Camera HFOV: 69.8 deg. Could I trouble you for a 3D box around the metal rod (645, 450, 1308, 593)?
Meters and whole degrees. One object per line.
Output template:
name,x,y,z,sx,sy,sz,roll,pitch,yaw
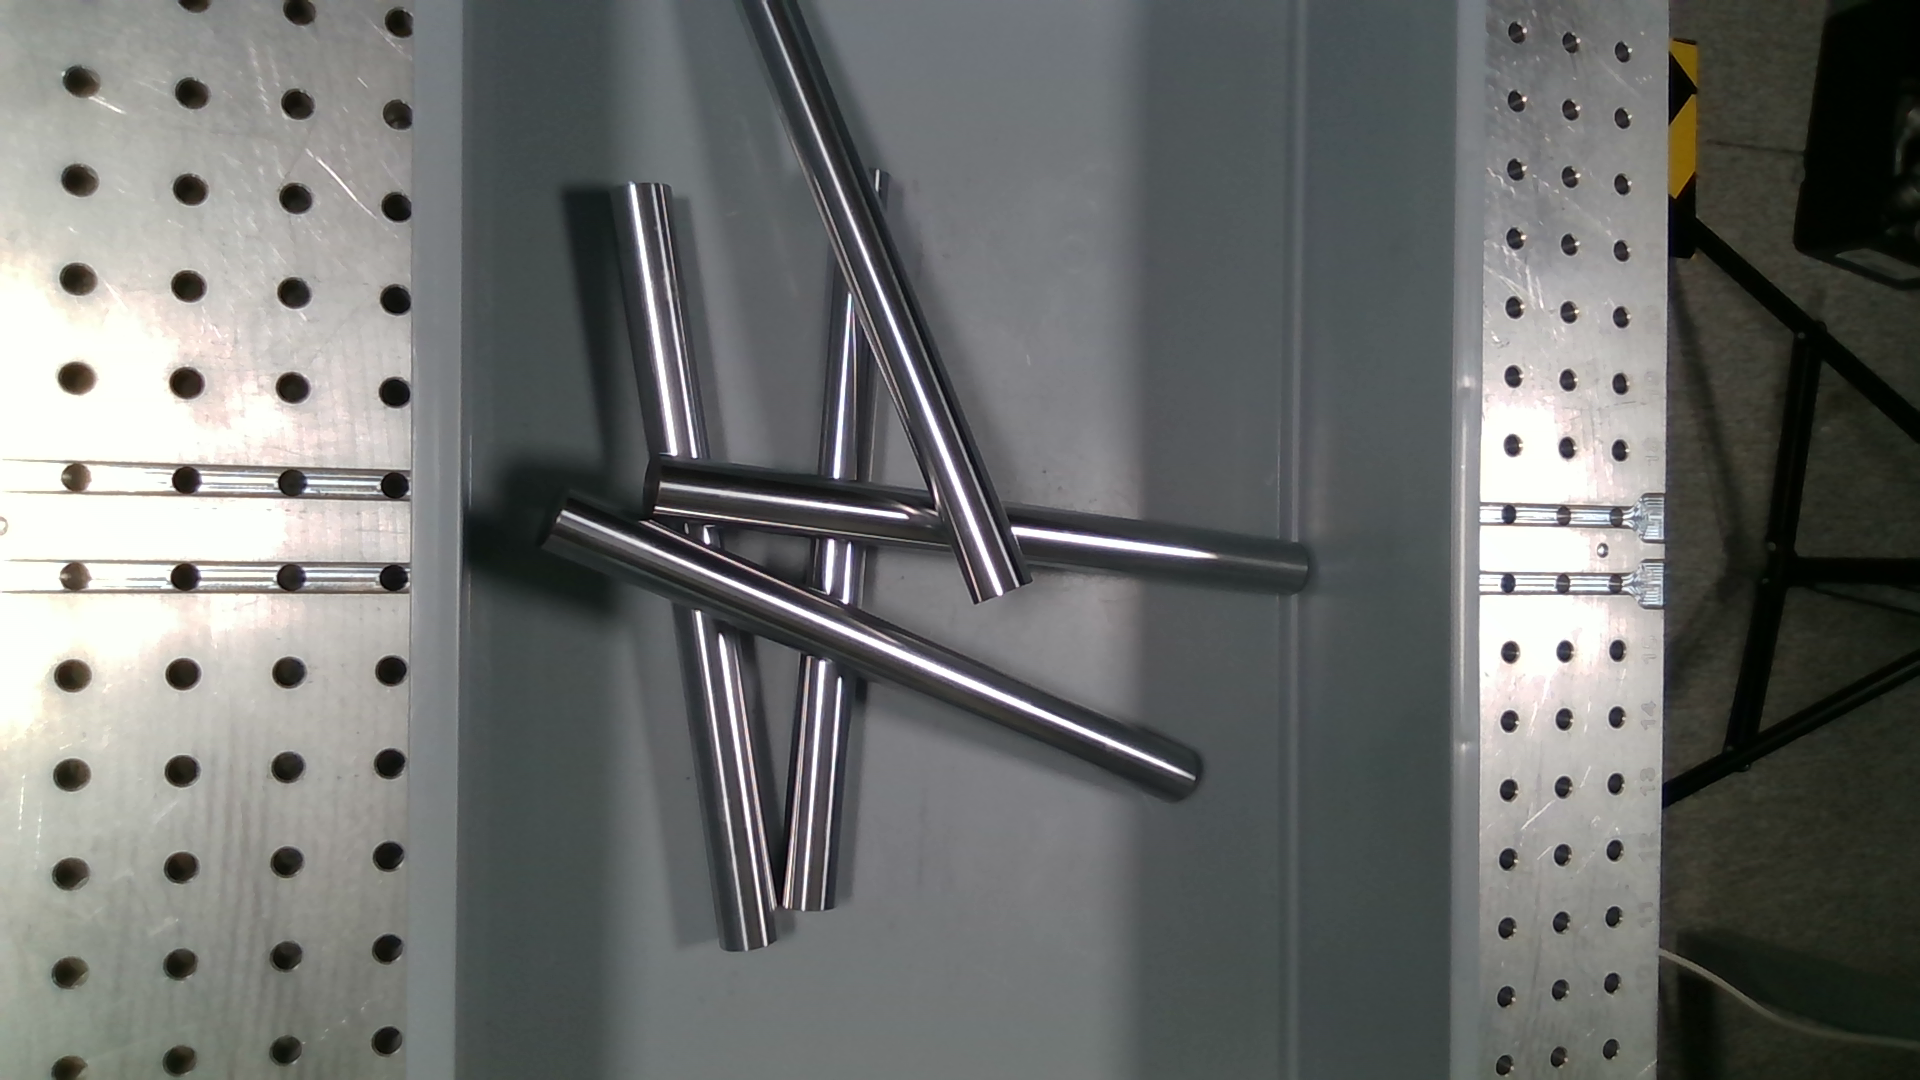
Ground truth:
metal rod,0.020,-0.005,0.574,0.300,0.025,0.025,7,88,-26

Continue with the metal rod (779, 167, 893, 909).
metal rod,-0.051,-0.002,0.566,0.025,0.025,0.300,5,89,-20

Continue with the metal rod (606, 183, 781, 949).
metal rod,-0.105,0.012,0.546,0.025,0.025,0.300,-9,93,-20

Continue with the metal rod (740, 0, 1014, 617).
metal rod,-0.039,-0.115,0.543,0.025,0.025,0.300,-20,91,-19

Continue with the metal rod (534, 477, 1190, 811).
metal rod,-0.025,0.050,0.555,0.301,0.025,0.025,27,81,-26
